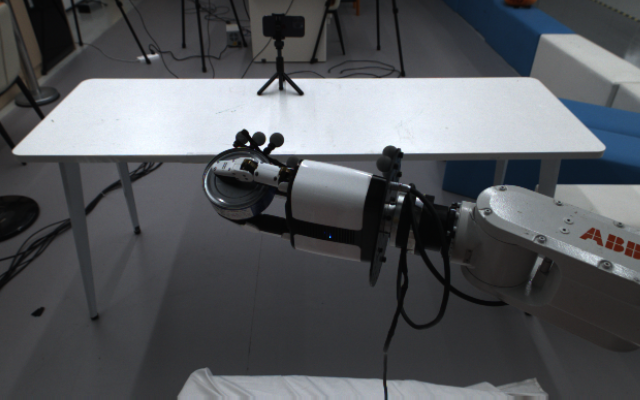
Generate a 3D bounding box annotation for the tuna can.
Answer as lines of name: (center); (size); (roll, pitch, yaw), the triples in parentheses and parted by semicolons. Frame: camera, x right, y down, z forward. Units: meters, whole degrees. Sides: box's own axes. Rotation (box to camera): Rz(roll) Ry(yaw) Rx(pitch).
tuna can: (-0.097, -0.020, 0.592); (0.085, 0.034, 0.085); (-2, 60, 3)
